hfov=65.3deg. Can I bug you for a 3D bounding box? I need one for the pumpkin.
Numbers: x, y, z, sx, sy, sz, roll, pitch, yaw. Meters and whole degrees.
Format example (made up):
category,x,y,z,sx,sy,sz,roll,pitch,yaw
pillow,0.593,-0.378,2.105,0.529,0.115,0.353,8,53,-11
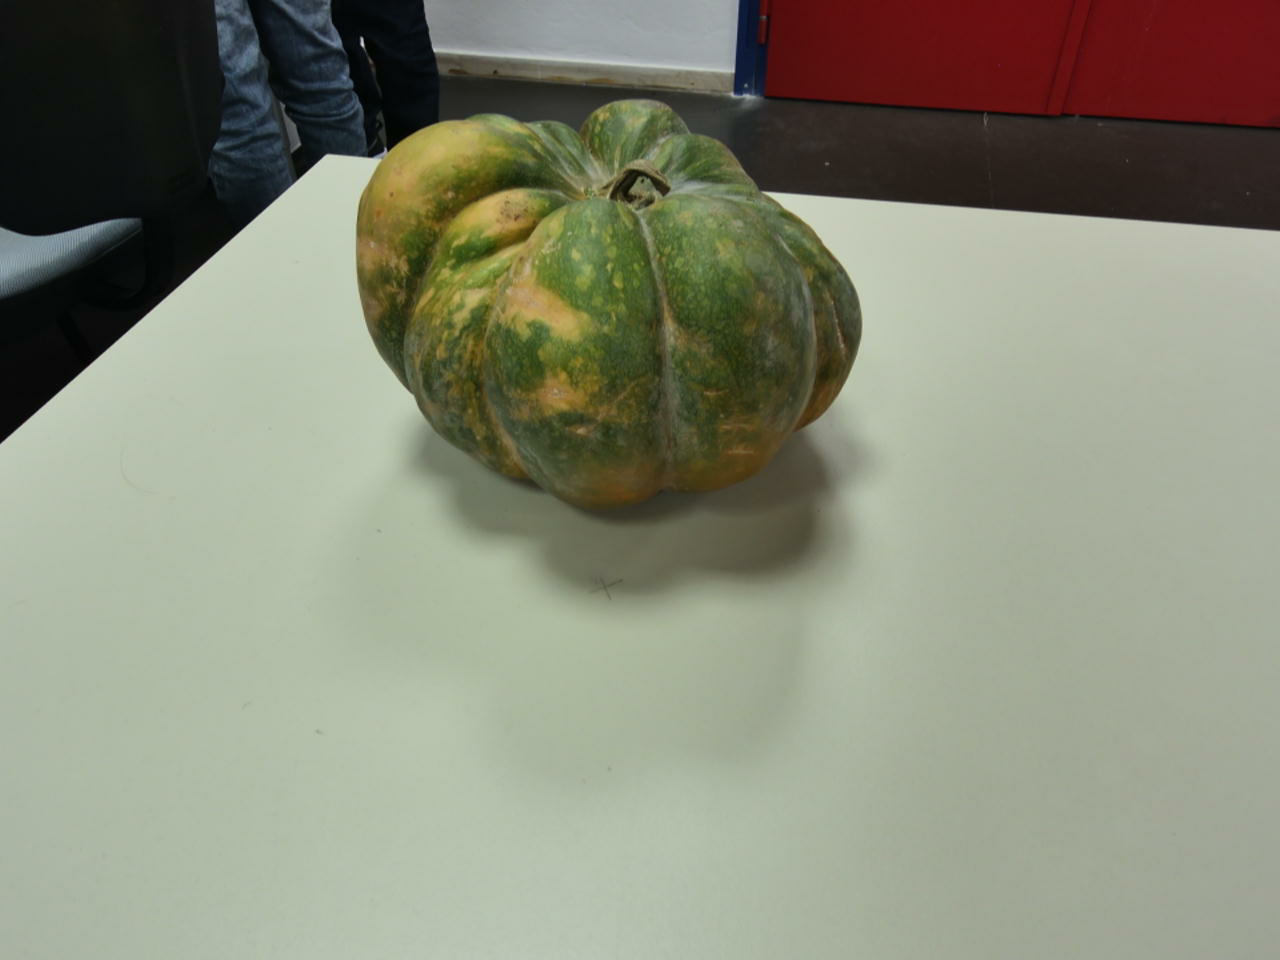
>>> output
category,x,y,z,sx,sy,sz,roll,pitch,yaw
pumpkin,-0.015,-0.099,0.522,0.237,0.173,0.270,-28,46,-30
